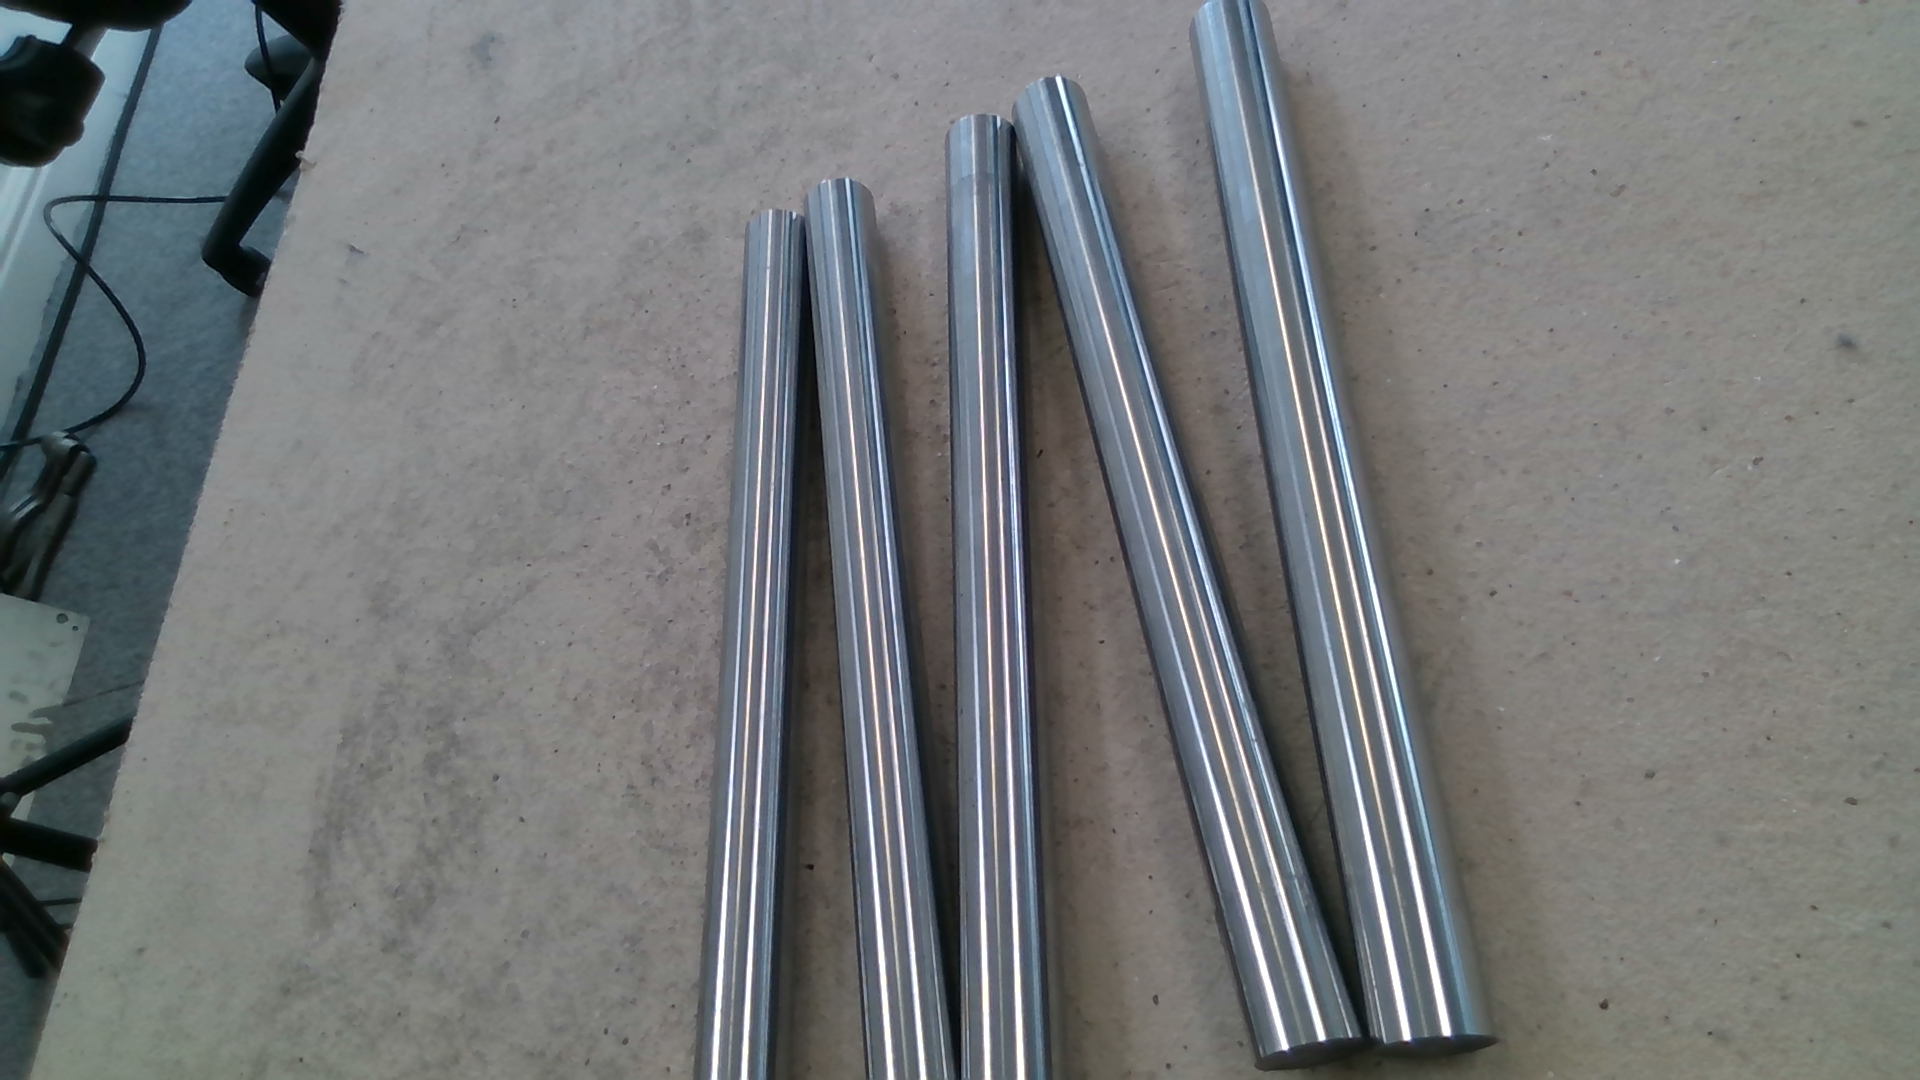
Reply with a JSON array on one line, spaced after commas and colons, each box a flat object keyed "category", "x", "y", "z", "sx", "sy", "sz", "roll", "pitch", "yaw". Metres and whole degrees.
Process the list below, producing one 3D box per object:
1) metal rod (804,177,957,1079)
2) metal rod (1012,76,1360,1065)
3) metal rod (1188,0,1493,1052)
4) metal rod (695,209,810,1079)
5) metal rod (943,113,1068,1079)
[{"category": "metal rod", "x": -0.026, "y": 0.009, "z": 0.404, "sx": 0.025, "sy": 0.025, "sz": 0.299, "roll": -21, "pitch": 56, "yaw": 21}, {"category": "metal rod", "x": 0.051, "y": -0.017, "z": 0.371, "sx": 0.025, "sy": 0.025, "sz": 0.299, "roll": -23, "pitch": 56, "yaw": 20}, {"category": "metal rod", "x": 0.089, "y": -0.028, "z": 0.353, "sx": 0.025, "sy": 0.025, "sz": 0.299, "roll": -17, "pitch": 58, "yaw": 23}, {"category": "metal rod", "x": -0.060, "y": 0.021, "z": 0.419, "sx": 0.025, "sy": 0.025, "sz": 0.299, "roll": -16, "pitch": 58, "yaw": 24}, {"category": "metal rod", "x": 0.010, "y": -0.002, "z": 0.388, "sx": 0.025, "sy": 0.025, "sz": 0.299, "roll": -15, "pitch": 59, "yaw": 24}]
